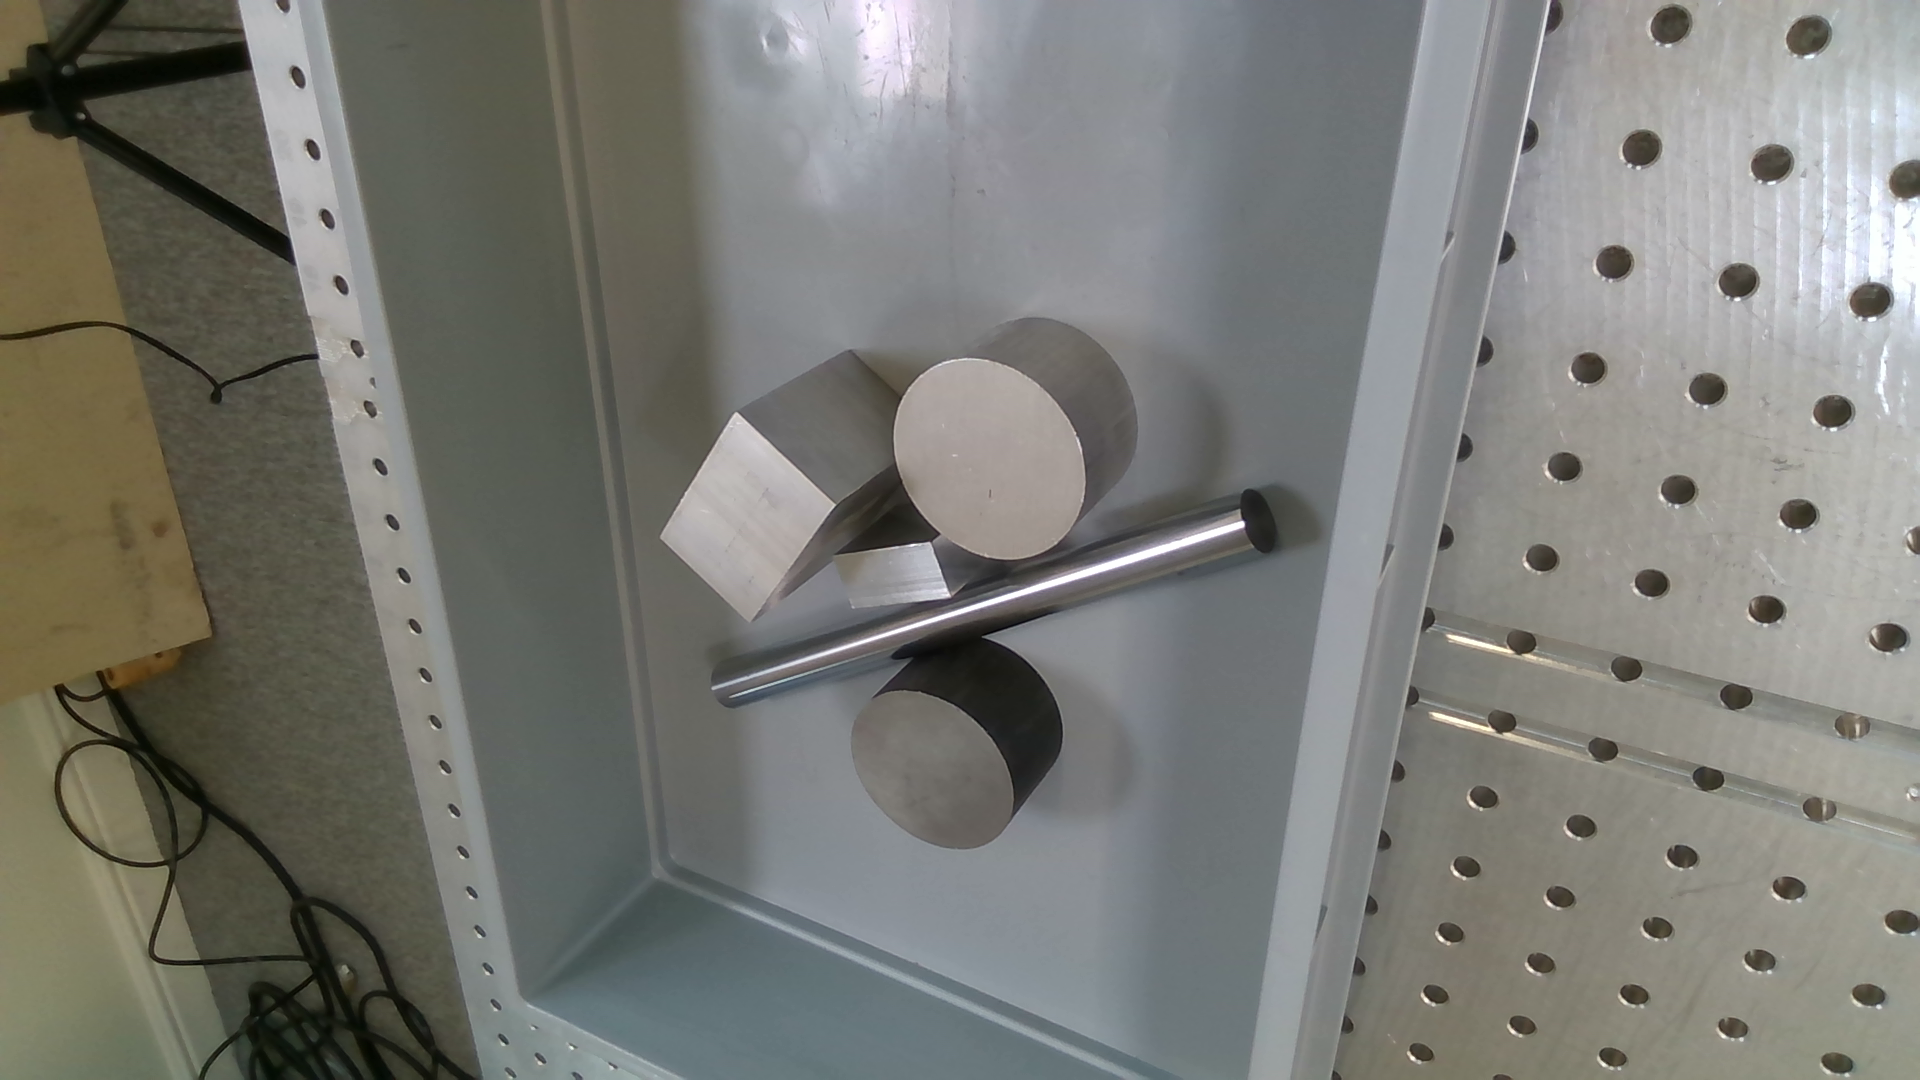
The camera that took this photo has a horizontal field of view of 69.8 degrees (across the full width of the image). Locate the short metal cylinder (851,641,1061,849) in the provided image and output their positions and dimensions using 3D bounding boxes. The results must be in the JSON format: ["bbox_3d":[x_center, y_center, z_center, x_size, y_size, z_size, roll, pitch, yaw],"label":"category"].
[{"bbox_3d":[-0.001,0.089,0.613,0.080,0.050,0.080,14,122,25],"label":"short metal cylinder"}]

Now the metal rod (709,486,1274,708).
[{"bbox_3d":[-0.003,0.032,0.598,0.300,0.025,0.025,-20,104,37],"label":"metal rod"}]

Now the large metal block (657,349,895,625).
[{"bbox_3d":[-0.068,-0.023,0.571,0.050,0.080,0.080,43,129,5],"label":"large metal block"}]

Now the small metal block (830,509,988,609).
[{"bbox_3d":[-0.017,0.004,0.575,0.050,0.050,0.025,-8,111,34],"label":"small metal block"}]

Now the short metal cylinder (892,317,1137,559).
[{"bbox_3d":[0.021,-0.040,0.528,0.080,0.050,0.080,14,122,25],"label":"short metal cylinder"}]
